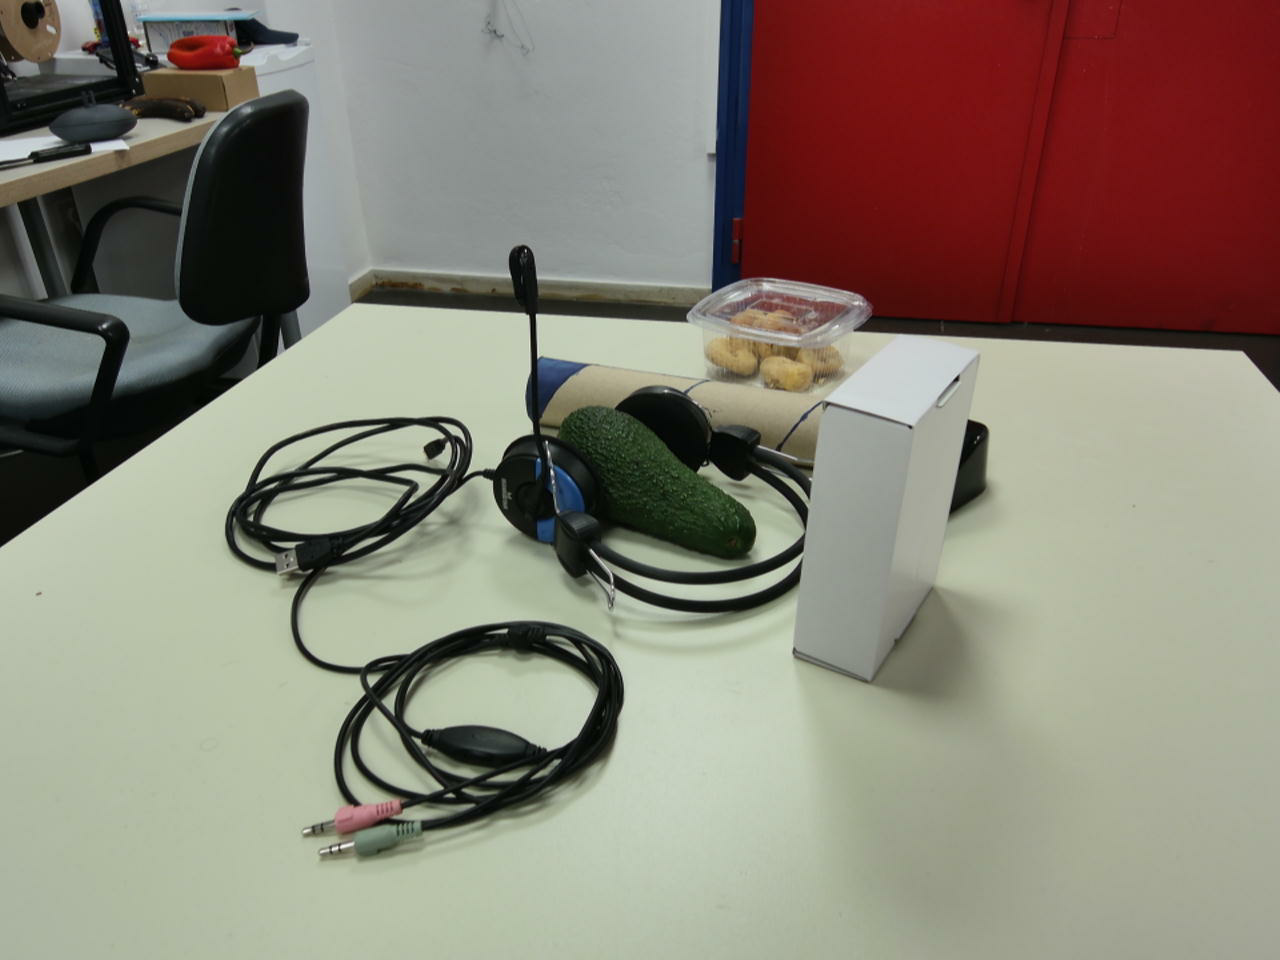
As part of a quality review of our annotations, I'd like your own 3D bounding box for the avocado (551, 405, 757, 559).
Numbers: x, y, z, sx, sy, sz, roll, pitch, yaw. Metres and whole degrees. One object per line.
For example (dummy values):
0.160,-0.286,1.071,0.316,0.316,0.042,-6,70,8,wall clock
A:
0.010,-0.003,0.583,0.141,0.067,0.063,13,29,24,avocado
